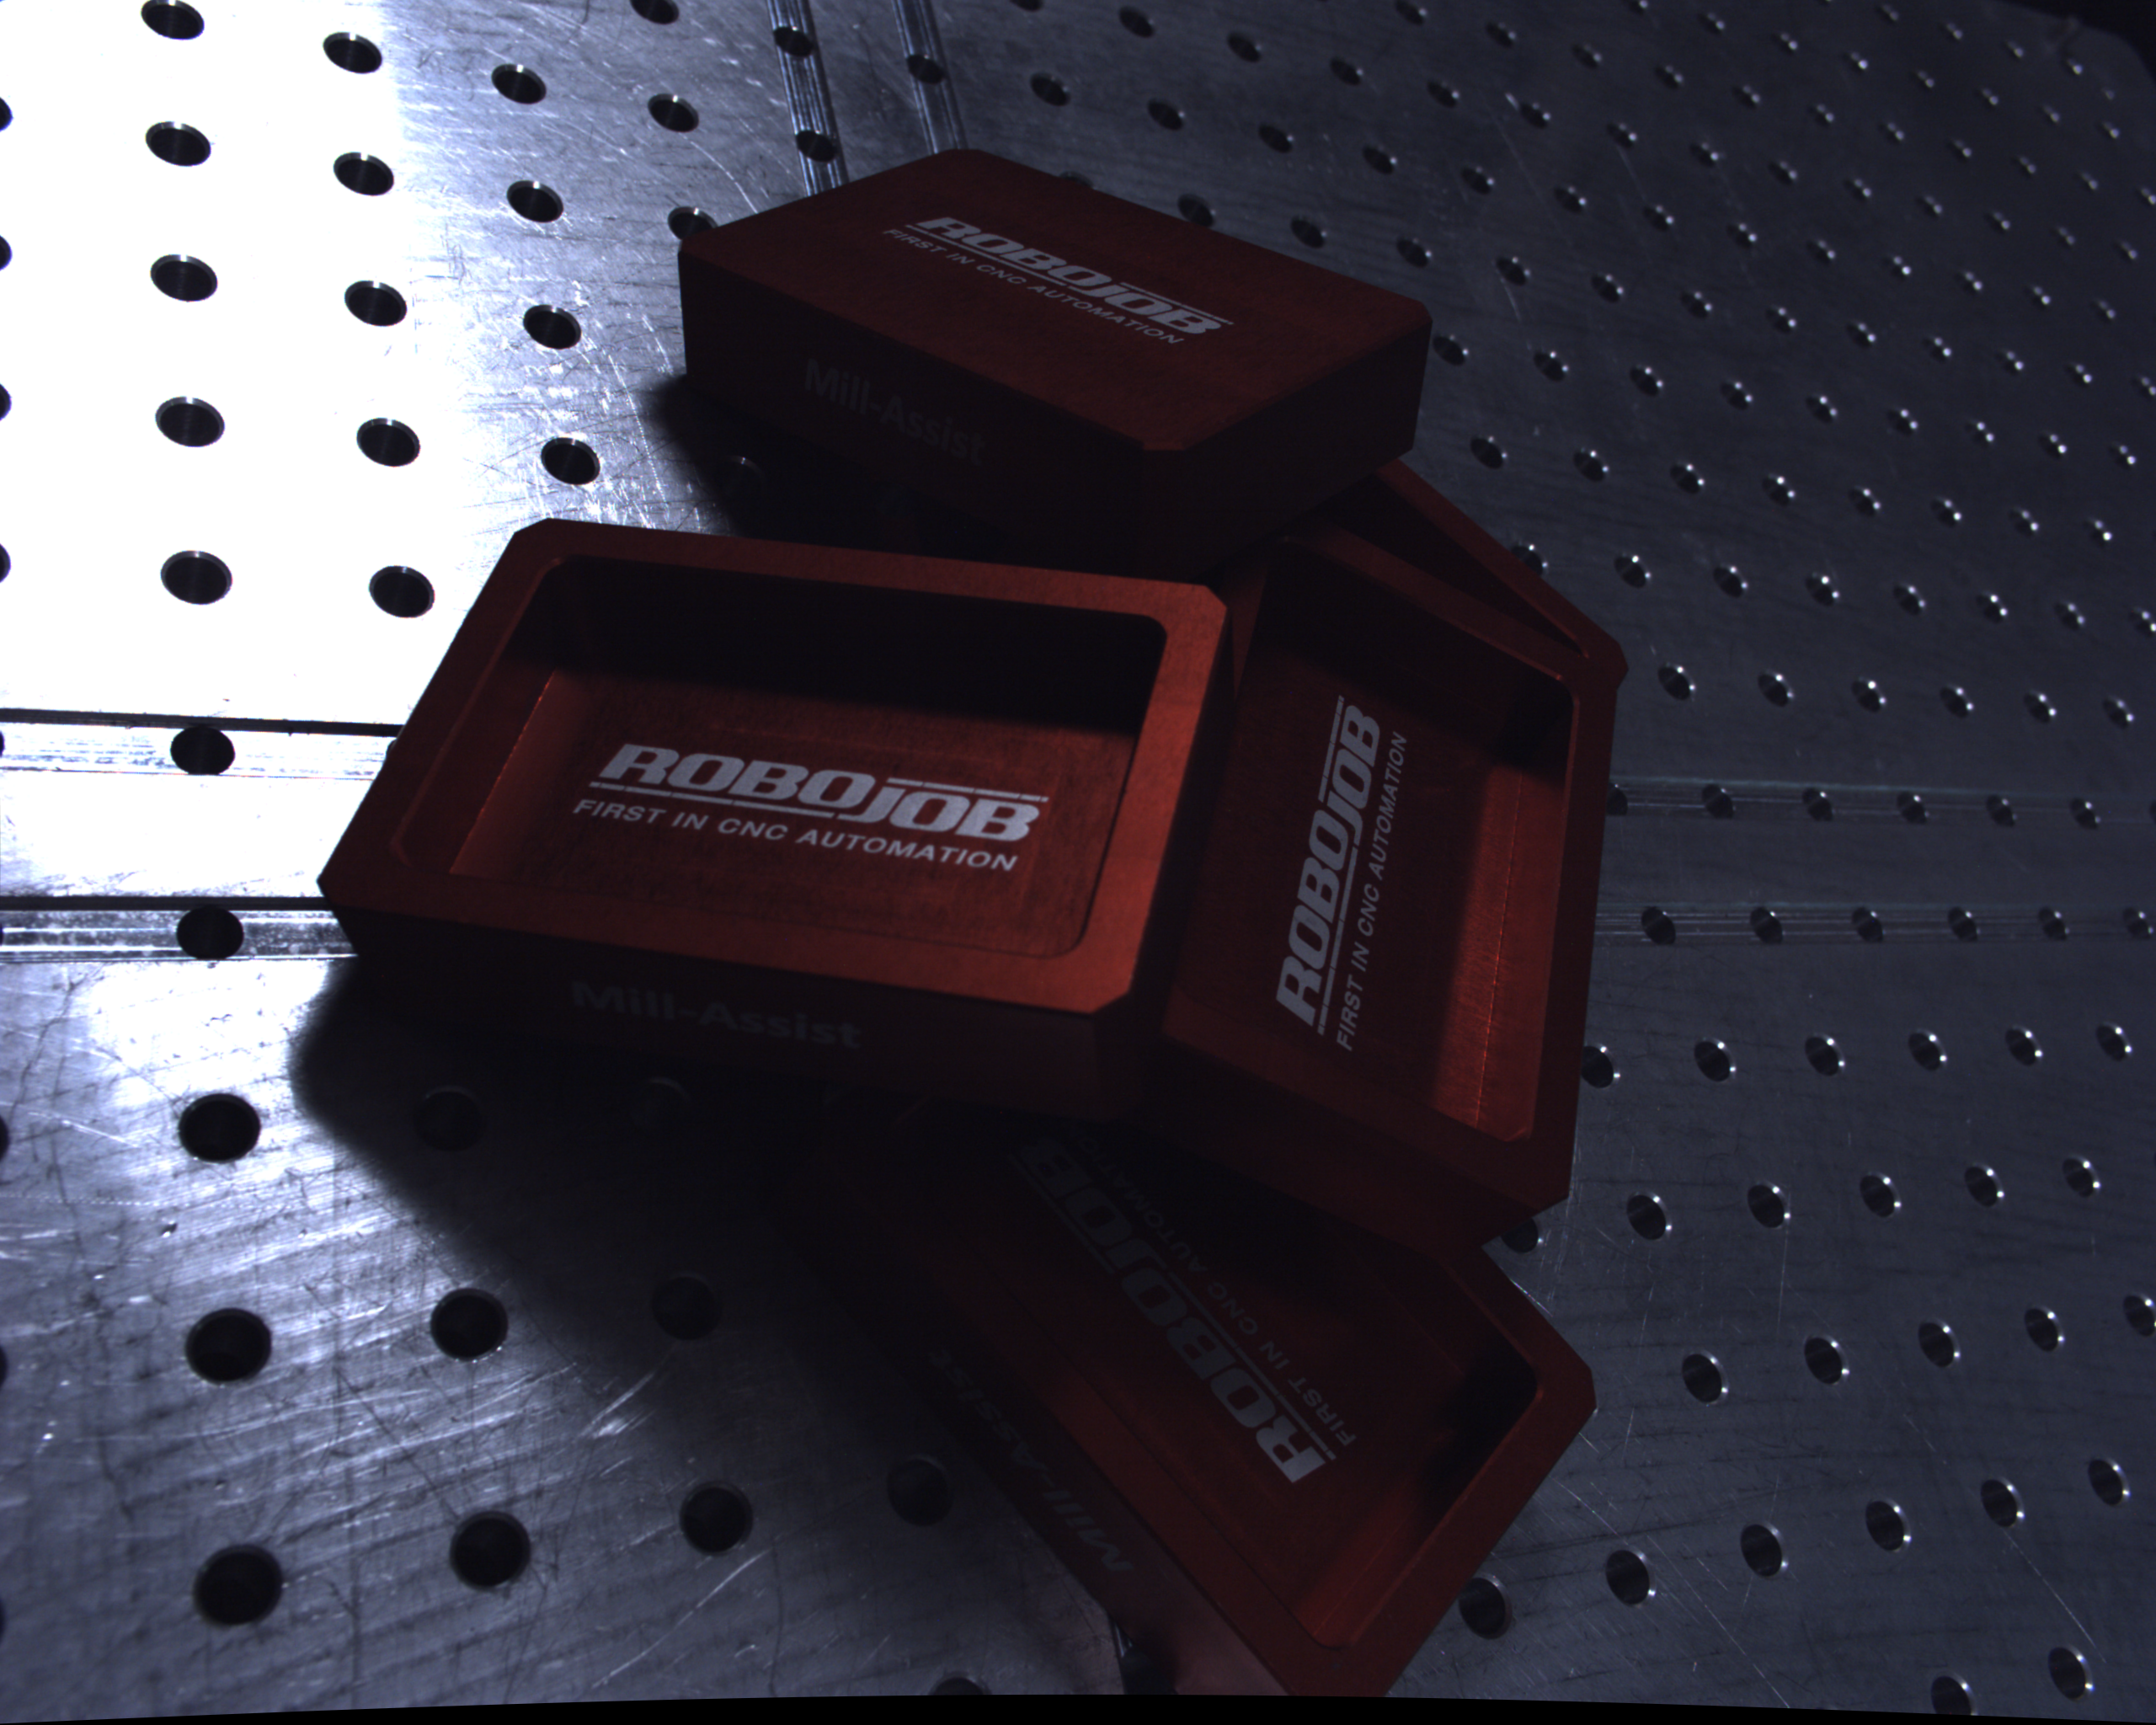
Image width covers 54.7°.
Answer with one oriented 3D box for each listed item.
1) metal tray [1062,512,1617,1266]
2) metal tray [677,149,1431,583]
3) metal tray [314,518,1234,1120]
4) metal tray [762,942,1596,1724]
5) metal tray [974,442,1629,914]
[{"bbox_3d":[0.052,0.000,0.396,0.090,0.030,0.130,26,52,-13],"label":"metal tray"},{"bbox_3d":[-0.006,-0.106,0.429,0.130,0.030,0.091,29,44,29],"label":"metal tray"},{"bbox_3d":[-0.046,-0.011,0.349,0.131,0.030,0.090,7,53,11],"label":"metal tray"},{"bbox_3d":[0.020,0.077,0.370,0.130,0.030,0.091,48,51,5],"label":"metal tray"},{"bbox_3d":[0.052,-0.055,0.468,0.130,0.030,0.090,40,51,-2],"label":"metal tray"}]
